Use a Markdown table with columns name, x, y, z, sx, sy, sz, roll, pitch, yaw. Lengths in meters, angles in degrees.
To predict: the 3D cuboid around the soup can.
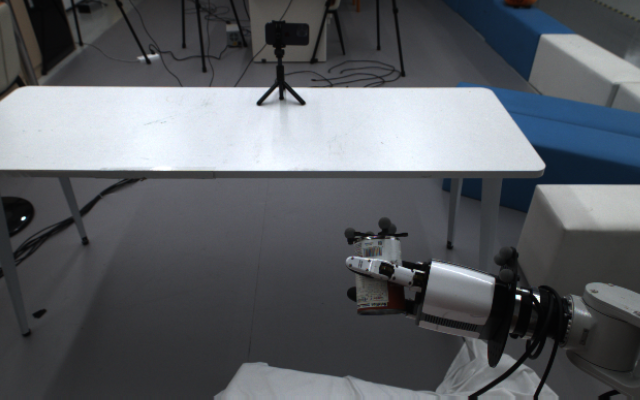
| name | x | y | z | sx | sy | sz | roll | pitch | yaw |
| --- | --- | --- | --- | --- | --- | --- | --- | --- | --- |
| soup can | 0.086 | 0.105 | 0.673 | 0.067 | 0.067 | 0.101 | -1 | 71 | -5 |
